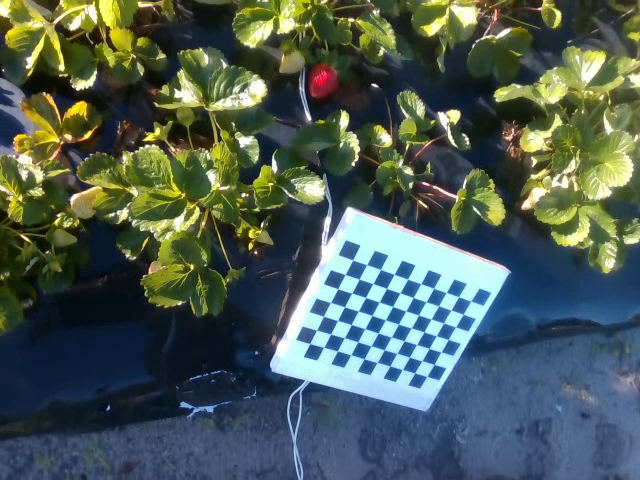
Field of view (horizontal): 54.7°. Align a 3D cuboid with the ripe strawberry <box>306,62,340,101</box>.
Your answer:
[{"bbox_3d":[0.008,-0.257,0.994,0.040,0.080,0.063,-8,-48,43],"label":"ripe strawberry"}]
